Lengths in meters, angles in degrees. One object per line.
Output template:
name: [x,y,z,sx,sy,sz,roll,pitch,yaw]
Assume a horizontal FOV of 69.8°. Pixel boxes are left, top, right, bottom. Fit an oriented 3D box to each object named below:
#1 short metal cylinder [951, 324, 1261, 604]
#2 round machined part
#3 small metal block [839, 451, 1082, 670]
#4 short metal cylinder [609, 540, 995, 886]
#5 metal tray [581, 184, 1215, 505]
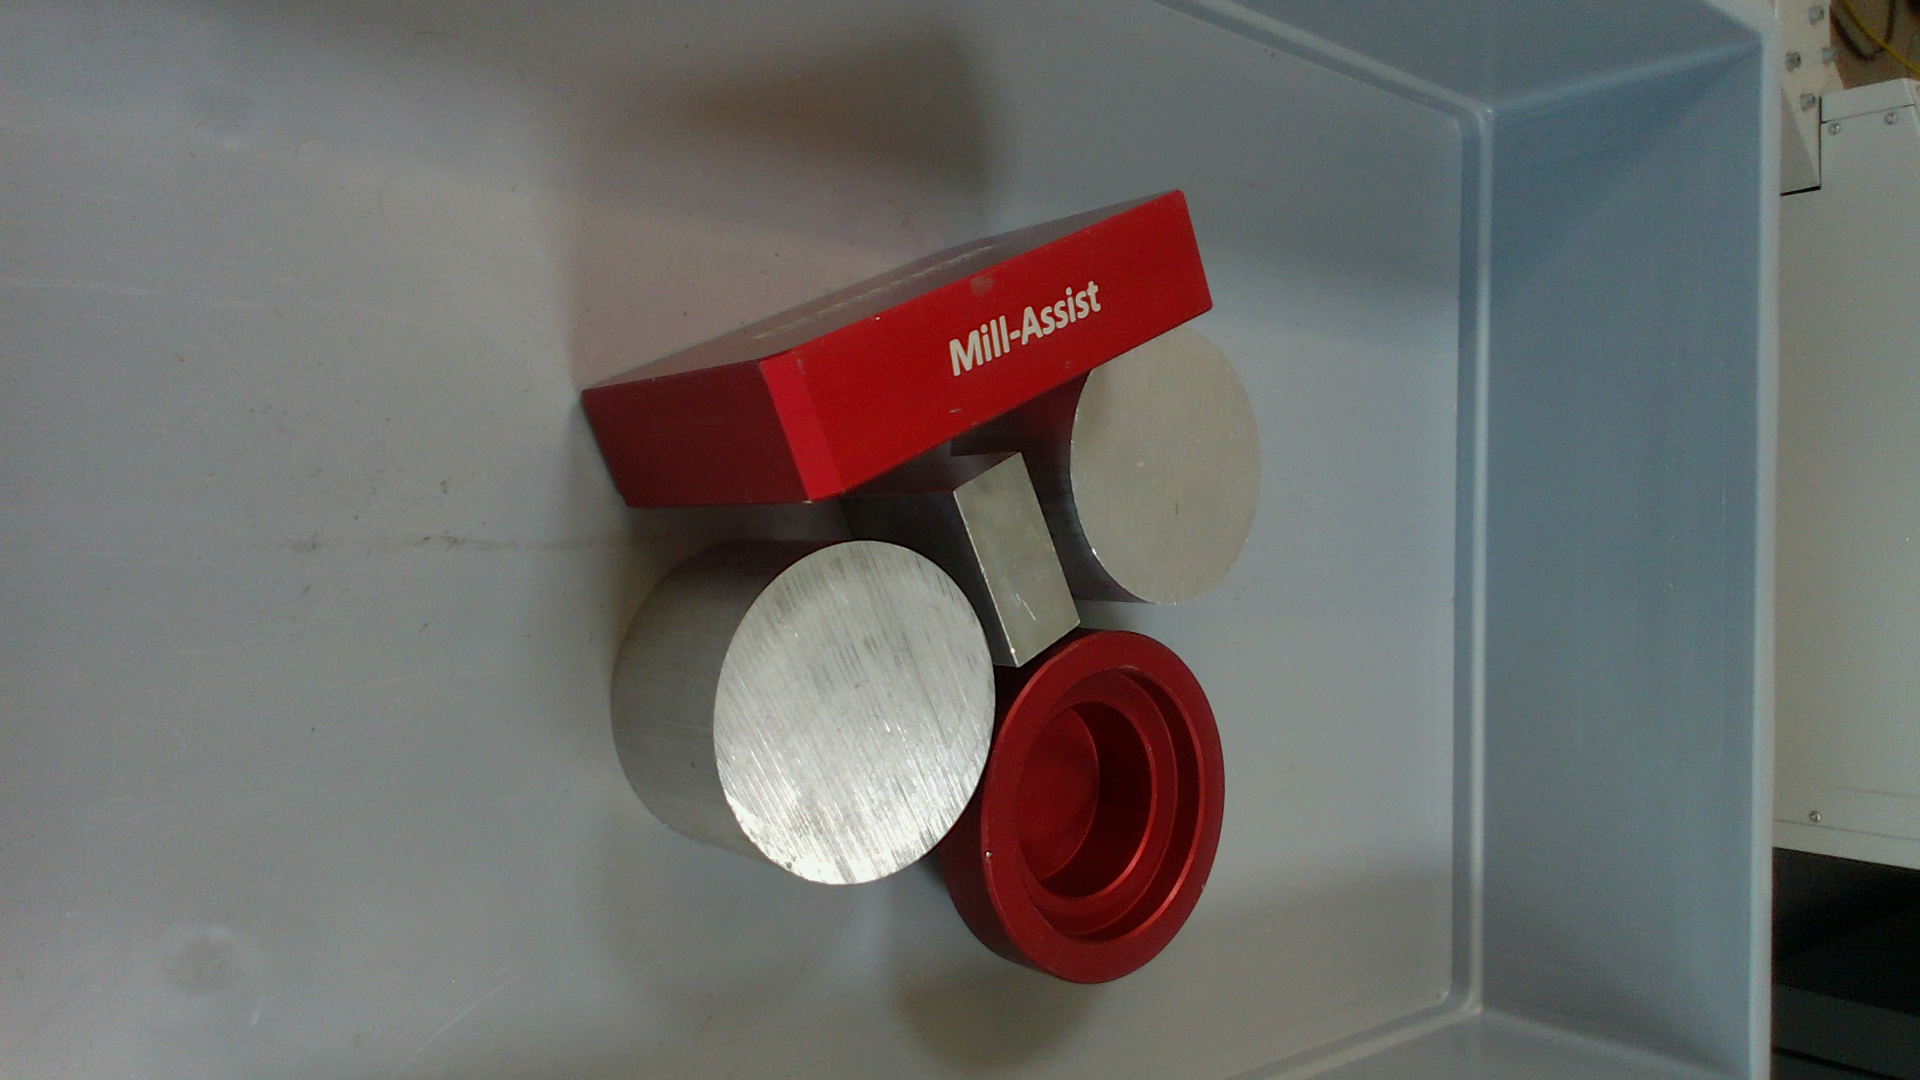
short metal cylinder: [0.044,-0.022,0.407,0.080,0.050,0.080,0,90,-40]
round machined part: [0.030,0.074,0.401,0.098,0.042,0.098,0,90,-40]
small metal block: [0.000,0.005,0.370,0.025,0.050,0.050,-31,110,-35]
short metal cylinder: [-0.038,0.040,0.339,0.080,0.050,0.080,0,90,-40]
metal tray: [-0.013,-0.048,0.333,0.130,0.090,0.030,-29,108,-35]
